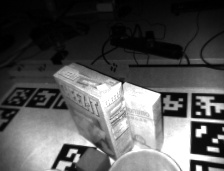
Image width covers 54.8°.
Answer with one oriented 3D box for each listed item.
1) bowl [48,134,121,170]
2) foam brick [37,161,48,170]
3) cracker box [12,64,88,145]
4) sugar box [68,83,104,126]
[{"bbox_3d":[-0.055,0.188,0.474,0.161,0.055,0.161,-9,40,8],"label":"bowl"},{"bbox_3d":[-0.160,0.168,0.539,0.052,0.079,0.051,13,46,32],"label":"foam brick"},{"bbox_3d":[-0.162,0.048,0.571,0.072,0.215,0.162,-37,44,-28],"label":"cracker box"},{"bbox_3d":[-0.051,0.055,0.554,0.091,0.178,0.045,18,49,36],"label":"sugar box"}]
